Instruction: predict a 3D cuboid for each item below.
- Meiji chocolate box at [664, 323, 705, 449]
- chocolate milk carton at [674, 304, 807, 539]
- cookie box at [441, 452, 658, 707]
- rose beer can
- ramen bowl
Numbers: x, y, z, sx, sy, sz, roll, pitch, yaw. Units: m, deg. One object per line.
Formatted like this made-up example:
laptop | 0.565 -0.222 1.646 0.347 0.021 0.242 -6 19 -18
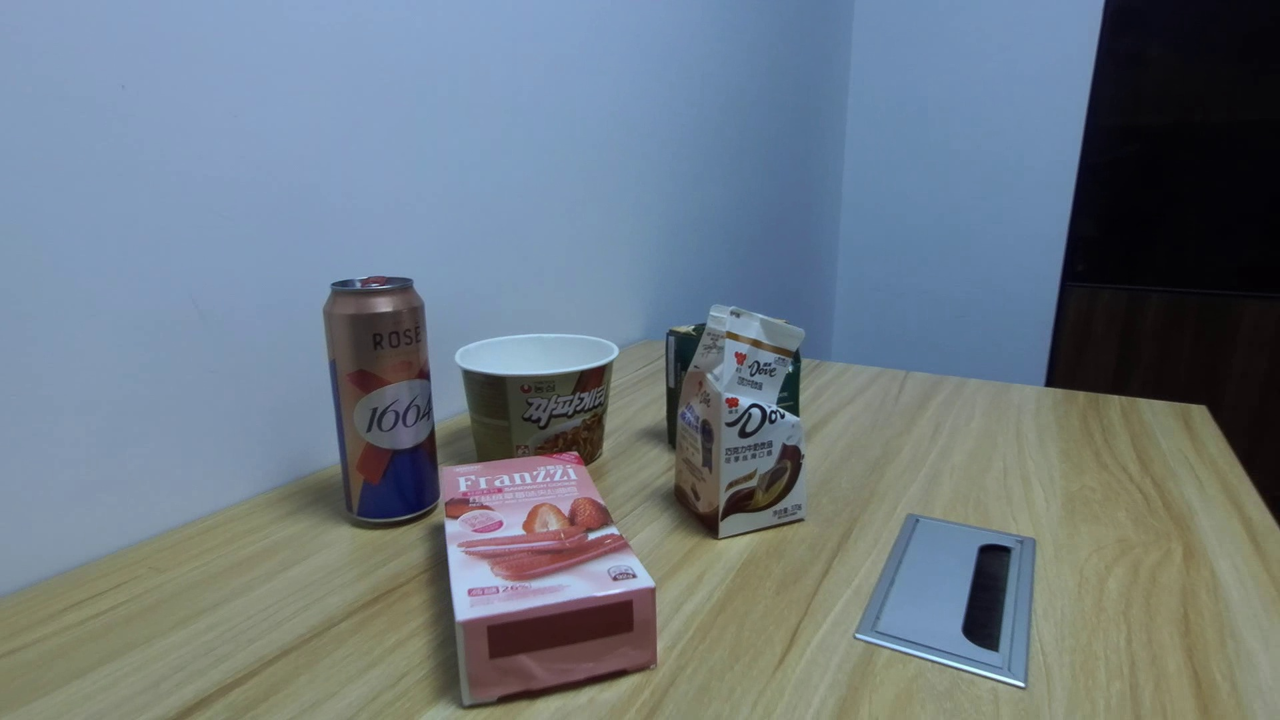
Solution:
Meiji chocolate box | 0.084 0.024 0.625 0.118 0.117 0.051 -4 5 -26
chocolate milk carton | 0.072 0.035 0.493 0.076 0.155 0.073 -6 19 -23
cookie box | -0.059 0.113 0.415 0.105 0.049 0.186 -4 15 -17
rose beer can | -0.184 0.030 0.507 0.068 0.169 0.068 1 14 0
ramen bowl | -0.087 0.037 0.620 0.140 0.095 0.140 0 15 0
